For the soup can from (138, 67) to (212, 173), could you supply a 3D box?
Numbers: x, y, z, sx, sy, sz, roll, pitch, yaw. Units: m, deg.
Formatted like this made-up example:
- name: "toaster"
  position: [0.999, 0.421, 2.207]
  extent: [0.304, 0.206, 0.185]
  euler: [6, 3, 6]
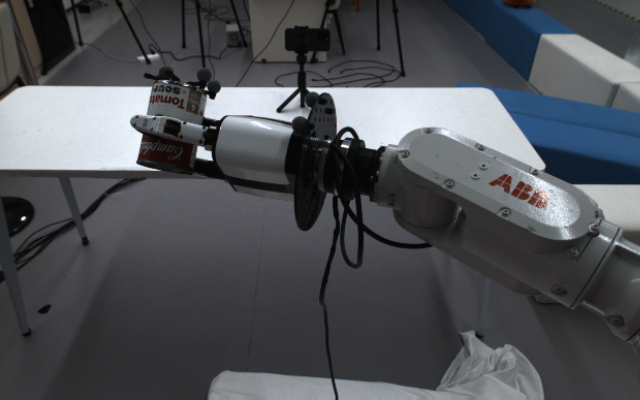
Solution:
- name: "soup can"
  position: [-0.181, -0.087, 0.598]
  extent: [0.067, 0.101, 0.067]
  euler: [9, -5, 1]
